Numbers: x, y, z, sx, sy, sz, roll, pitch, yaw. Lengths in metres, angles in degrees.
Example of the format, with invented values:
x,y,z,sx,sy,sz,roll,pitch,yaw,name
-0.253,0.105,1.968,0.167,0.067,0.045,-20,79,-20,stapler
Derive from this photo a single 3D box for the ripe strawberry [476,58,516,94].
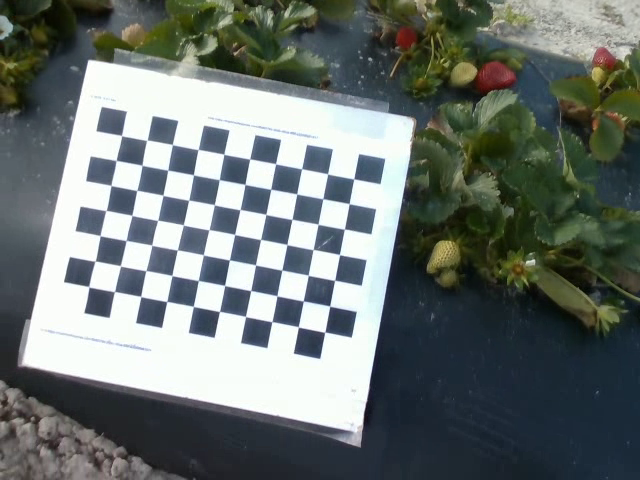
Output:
x,y,z,sx,sy,sz,roll,pitch,yaw,name
0.233,-0.213,0.794,0.048,0.051,0.055,45,-2,-30,ripe strawberry
